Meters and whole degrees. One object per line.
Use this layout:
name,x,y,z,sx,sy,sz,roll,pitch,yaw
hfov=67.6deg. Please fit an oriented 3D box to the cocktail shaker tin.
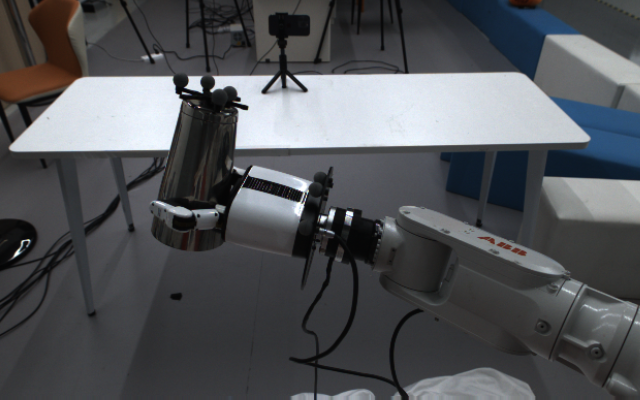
cocktail shaker tin,-0.148,-0.034,0.592,0.093,0.170,0.093,13,20,-5
